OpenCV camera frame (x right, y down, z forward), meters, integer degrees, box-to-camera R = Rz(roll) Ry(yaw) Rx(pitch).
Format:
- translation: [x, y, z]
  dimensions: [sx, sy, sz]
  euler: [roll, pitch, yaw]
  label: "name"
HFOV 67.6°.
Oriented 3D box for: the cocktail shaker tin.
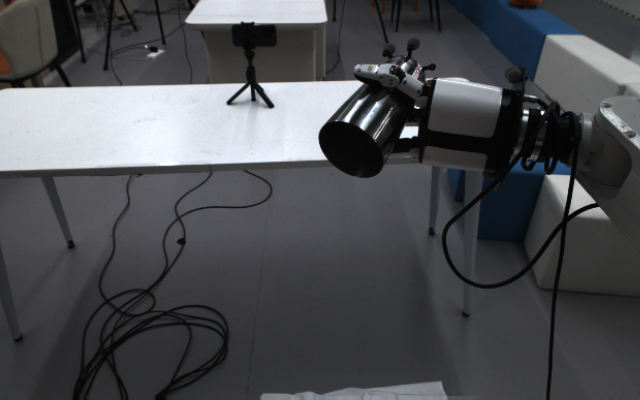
- translation: [0.082, -0.125, 0.646]
  dimensions: [0.093, 0.093, 0.170]
  euler: [19, 55, 22]
  label: "cocktail shaker tin"
